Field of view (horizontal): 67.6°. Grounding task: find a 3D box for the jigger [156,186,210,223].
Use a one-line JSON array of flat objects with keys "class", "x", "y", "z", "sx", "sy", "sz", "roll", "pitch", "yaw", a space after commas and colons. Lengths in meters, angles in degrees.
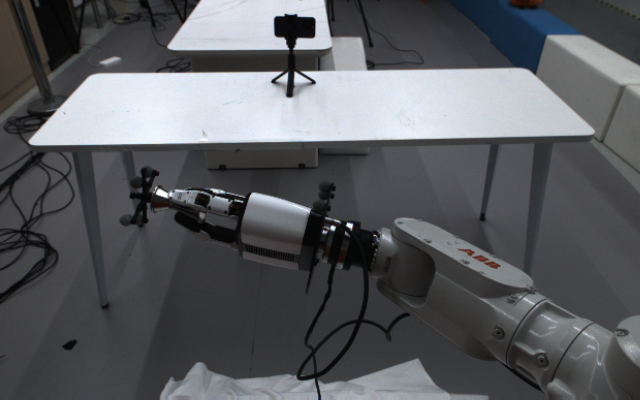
[{"class": "jigger", "x": -0.188, "y": 0.003, "z": 0.672, "sx": 0.071, "sy": 0.043, "sz": 0.043, "roll": 11, "pitch": 35, "yaw": 1}]
